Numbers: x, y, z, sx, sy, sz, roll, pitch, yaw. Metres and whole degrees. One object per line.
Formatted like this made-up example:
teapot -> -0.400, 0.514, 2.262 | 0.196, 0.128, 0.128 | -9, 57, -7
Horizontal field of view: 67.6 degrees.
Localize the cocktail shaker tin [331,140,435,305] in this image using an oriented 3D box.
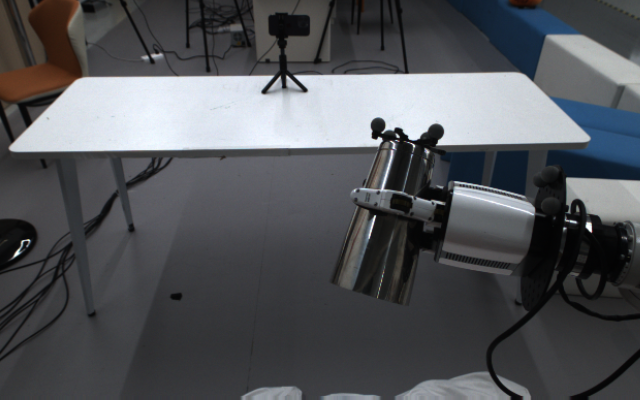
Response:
cocktail shaker tin -> 0.078, 0.023, 0.549 | 0.093, 0.170, 0.093 | 16, -6, 2
